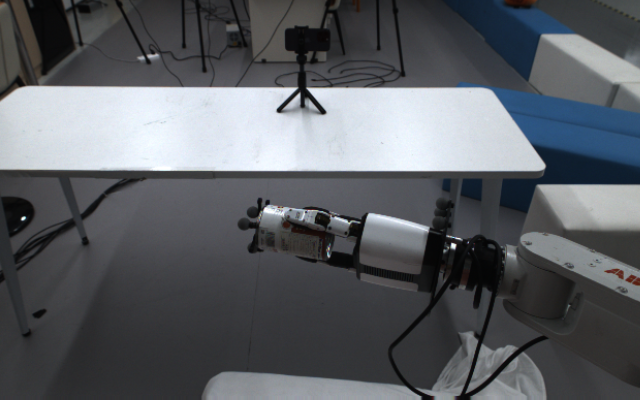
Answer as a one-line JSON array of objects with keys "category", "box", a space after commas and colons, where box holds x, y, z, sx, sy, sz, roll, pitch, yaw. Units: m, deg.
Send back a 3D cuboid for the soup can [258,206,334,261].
[{"category": "soup can", "box": [-0.031, 0.046, 0.687, 0.101, 0.067, 0.067, 9, 35, 10]}]
